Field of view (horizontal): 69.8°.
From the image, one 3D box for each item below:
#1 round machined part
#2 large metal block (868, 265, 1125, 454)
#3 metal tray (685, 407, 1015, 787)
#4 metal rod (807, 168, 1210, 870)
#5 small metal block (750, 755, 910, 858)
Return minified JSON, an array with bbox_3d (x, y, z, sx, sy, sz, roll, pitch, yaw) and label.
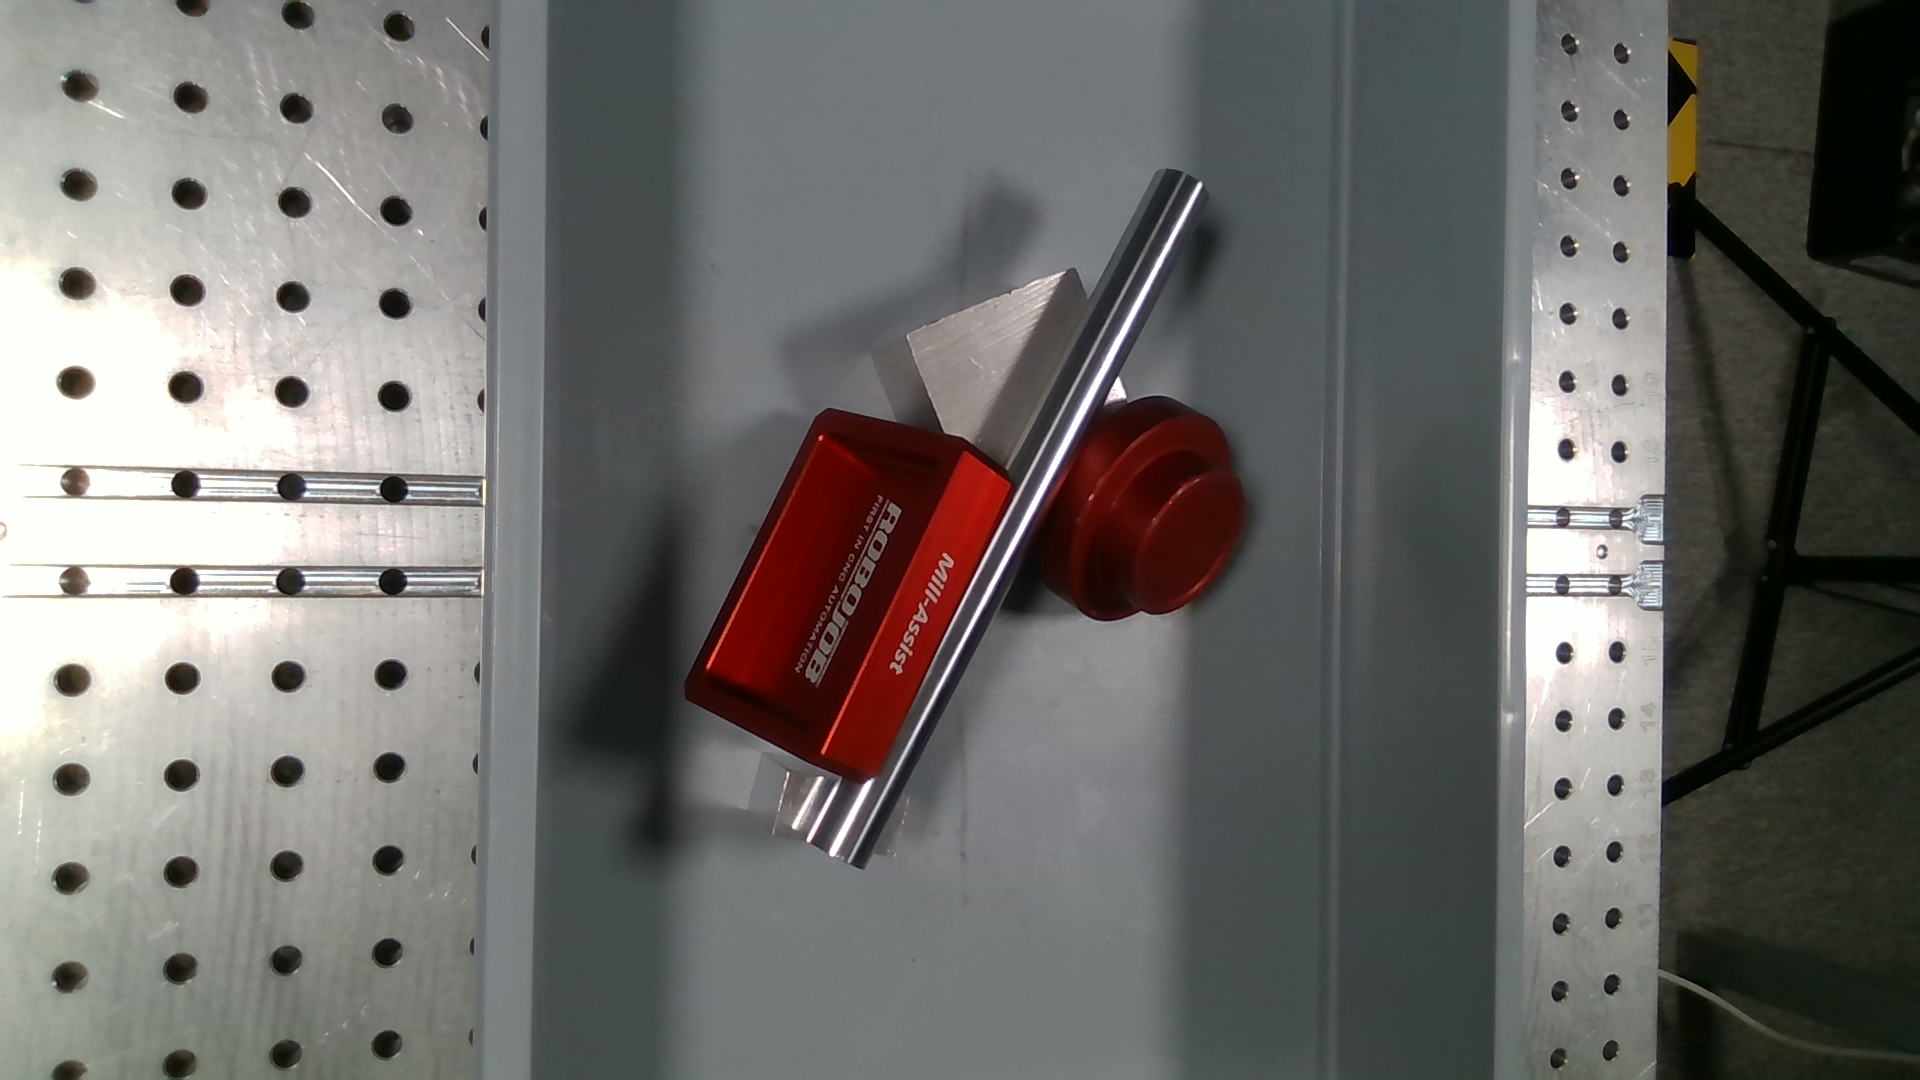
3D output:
[{"bbox_3d":[0.082,-0.007,0.578,0.098,0.042,0.098,-28,136,-31],"label":"round machined part"},{"bbox_3d":[0.019,-0.060,0.578,0.080,0.050,0.080,-24,98,-19],"label":"large metal block"},{"bbox_3d":[-0.044,0.018,0.530,0.030,0.090,0.130,34,78,-45],"label":"metal tray"},{"bbox_3d":[0.022,-0.013,0.538,0.025,0.025,0.300,31,80,-18],"label":"metal rod"},{"bbox_3d":[-0.053,0.106,0.552,0.050,0.050,0.025,15,85,-20],"label":"small metal block"}]
